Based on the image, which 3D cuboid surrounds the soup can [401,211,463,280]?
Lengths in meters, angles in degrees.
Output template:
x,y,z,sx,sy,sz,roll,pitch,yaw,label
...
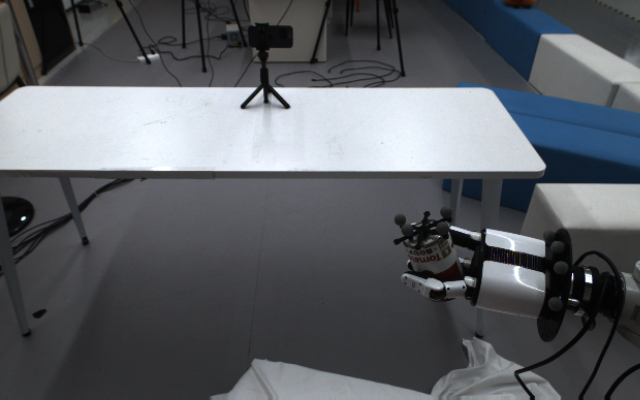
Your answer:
x,y,z,sx,sy,sz,roll,pitch,yaw,label
0.169,0.086,0.703,0.067,0.101,0.067,-21,24,10,soup can
